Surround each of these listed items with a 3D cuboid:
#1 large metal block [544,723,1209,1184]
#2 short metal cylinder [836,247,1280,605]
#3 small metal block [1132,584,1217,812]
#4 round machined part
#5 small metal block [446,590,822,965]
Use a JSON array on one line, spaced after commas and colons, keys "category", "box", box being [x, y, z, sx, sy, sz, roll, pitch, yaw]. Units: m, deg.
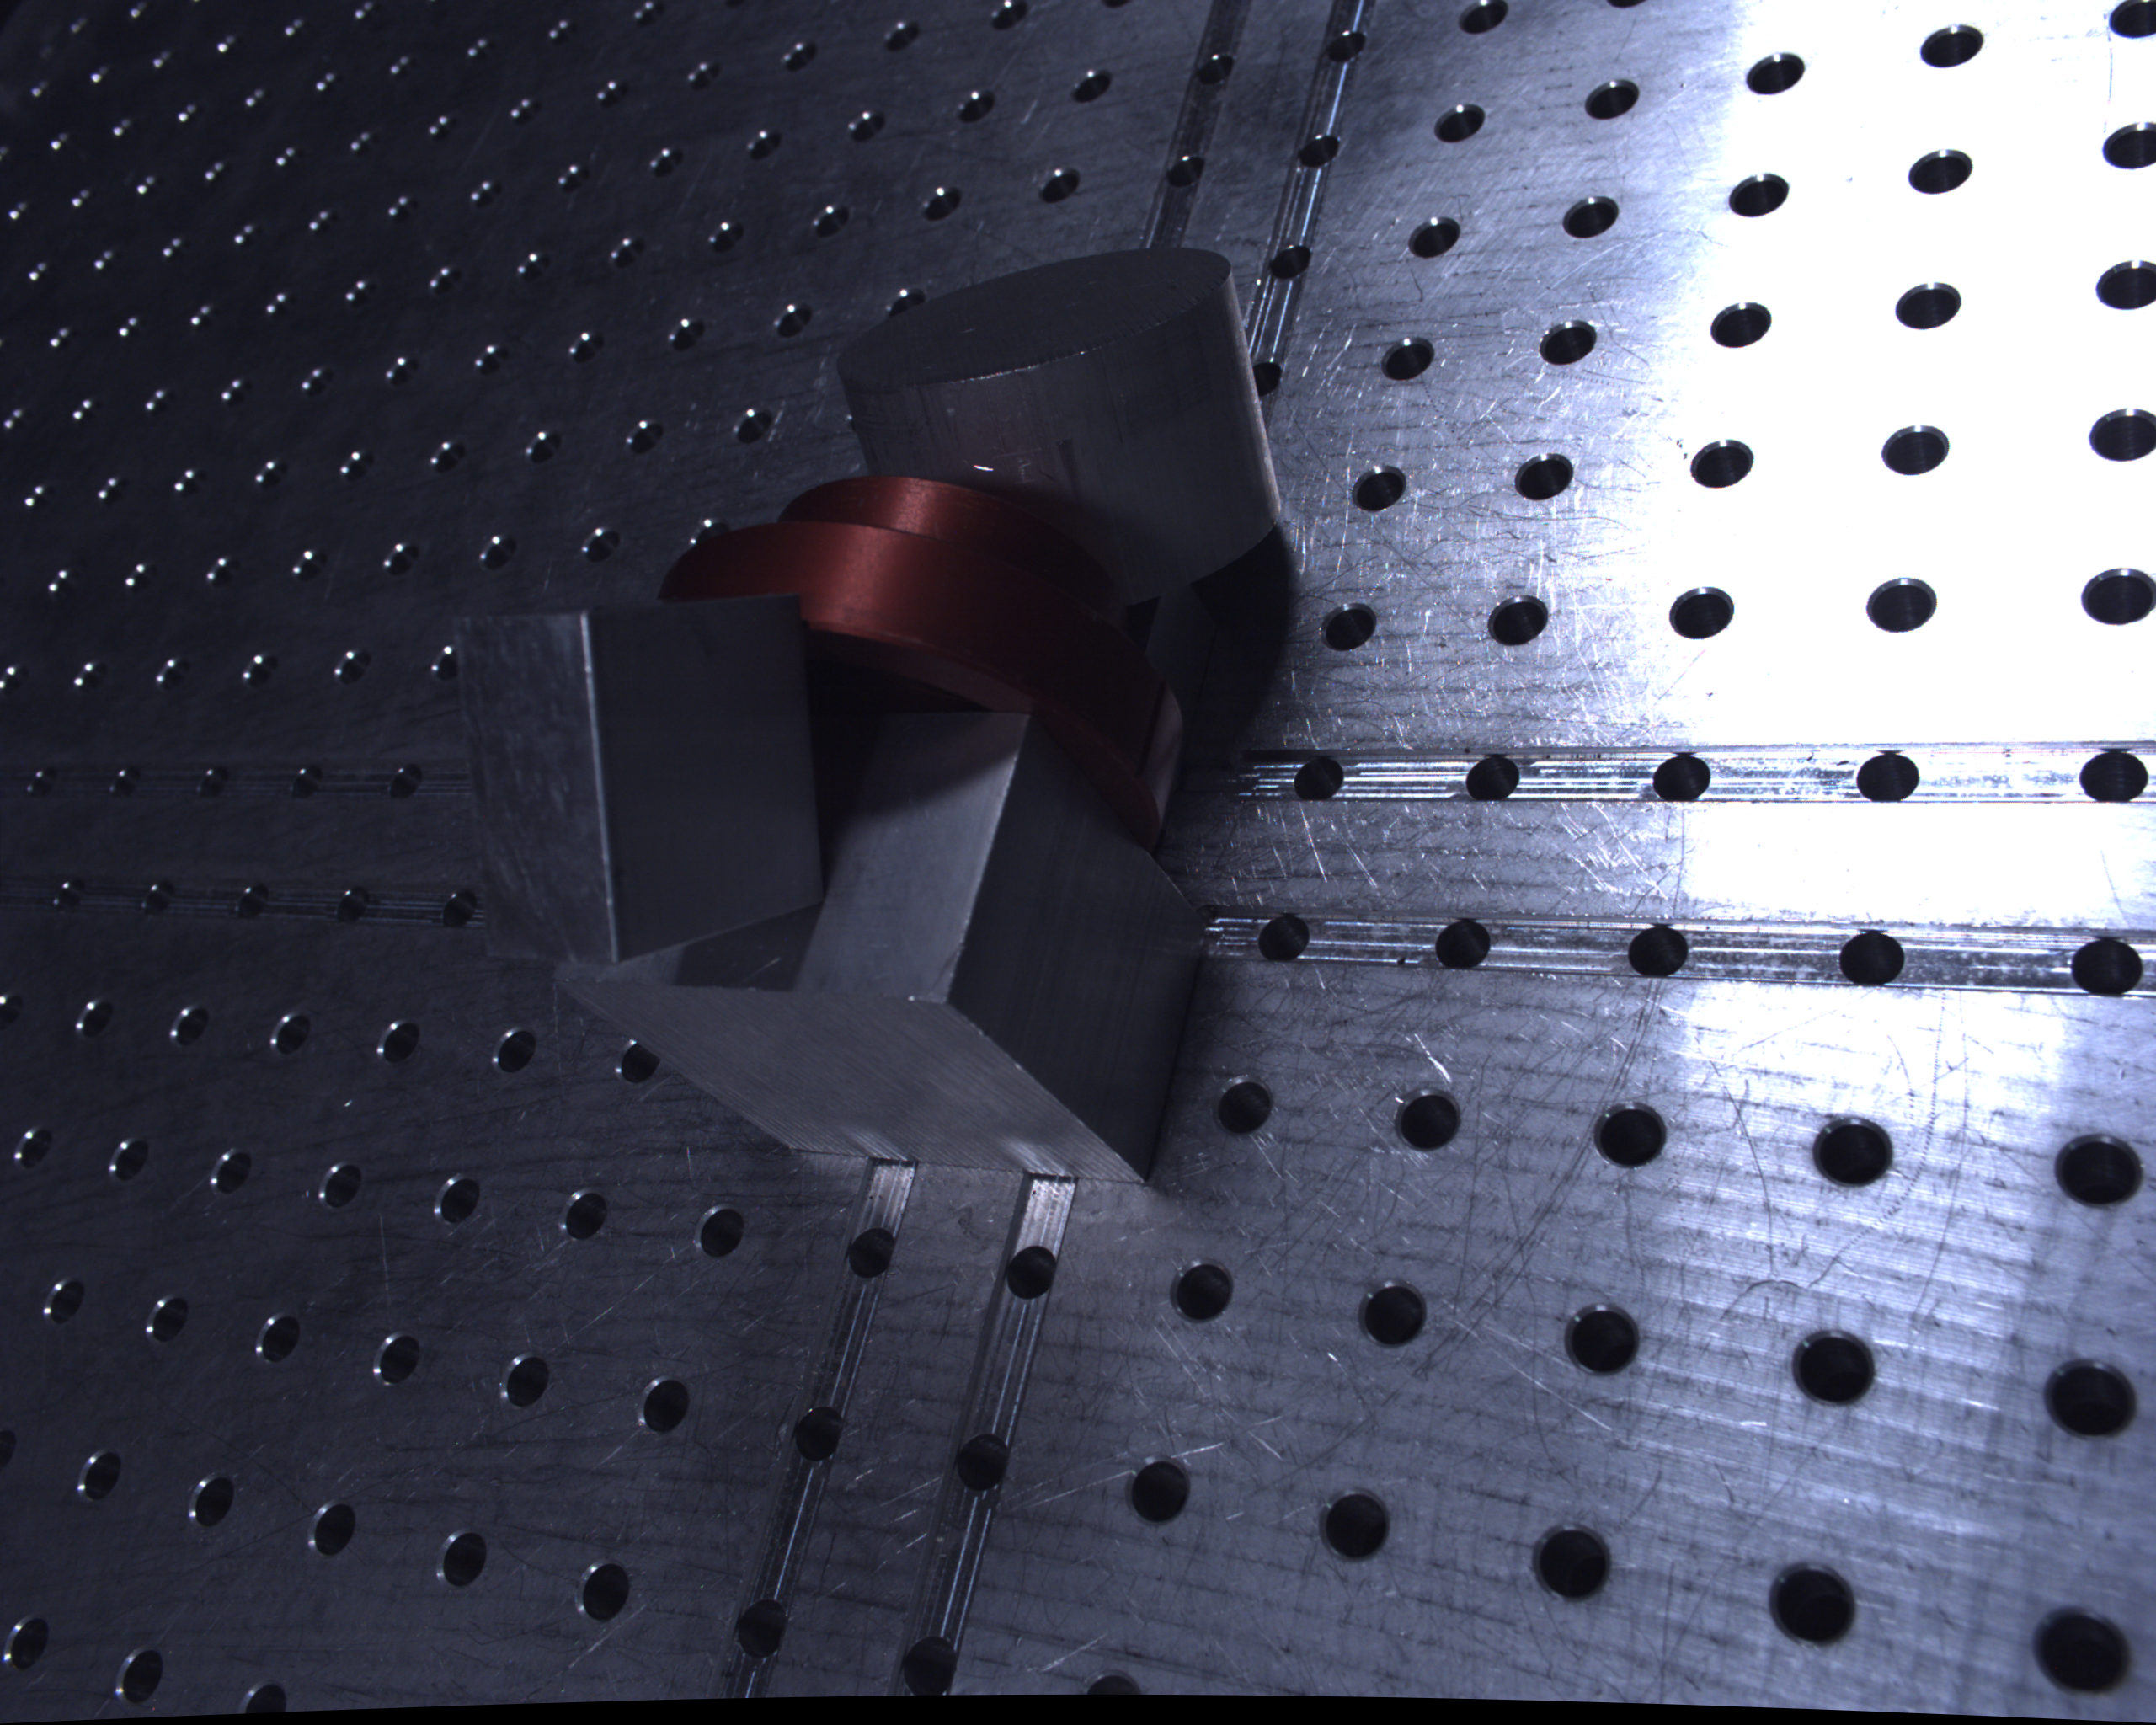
[{"category": "large metal block", "box": [-0.033, 0.017, 0.377, 0.080, 0.080, 0.050, 1, 62, 28]}, {"category": "short metal cylinder", "box": [-0.003, -0.088, 0.425, 0.080, 0.050, 0.080, -12, 28, 7]}, {"category": "small metal block", "box": [-0.004, -0.034, 0.429, 0.050, 0.025, 0.050, 1, 62, 28]}, {"category": "round machined part", "box": [-0.029, -0.034, 0.382, 0.098, 0.098, 0.042, 1, 62, 28]}, {"category": "small metal block", "box": [-0.066, -0.015, 0.318, 0.025, 0.050, 0.050, 2, 101, 28]}]
